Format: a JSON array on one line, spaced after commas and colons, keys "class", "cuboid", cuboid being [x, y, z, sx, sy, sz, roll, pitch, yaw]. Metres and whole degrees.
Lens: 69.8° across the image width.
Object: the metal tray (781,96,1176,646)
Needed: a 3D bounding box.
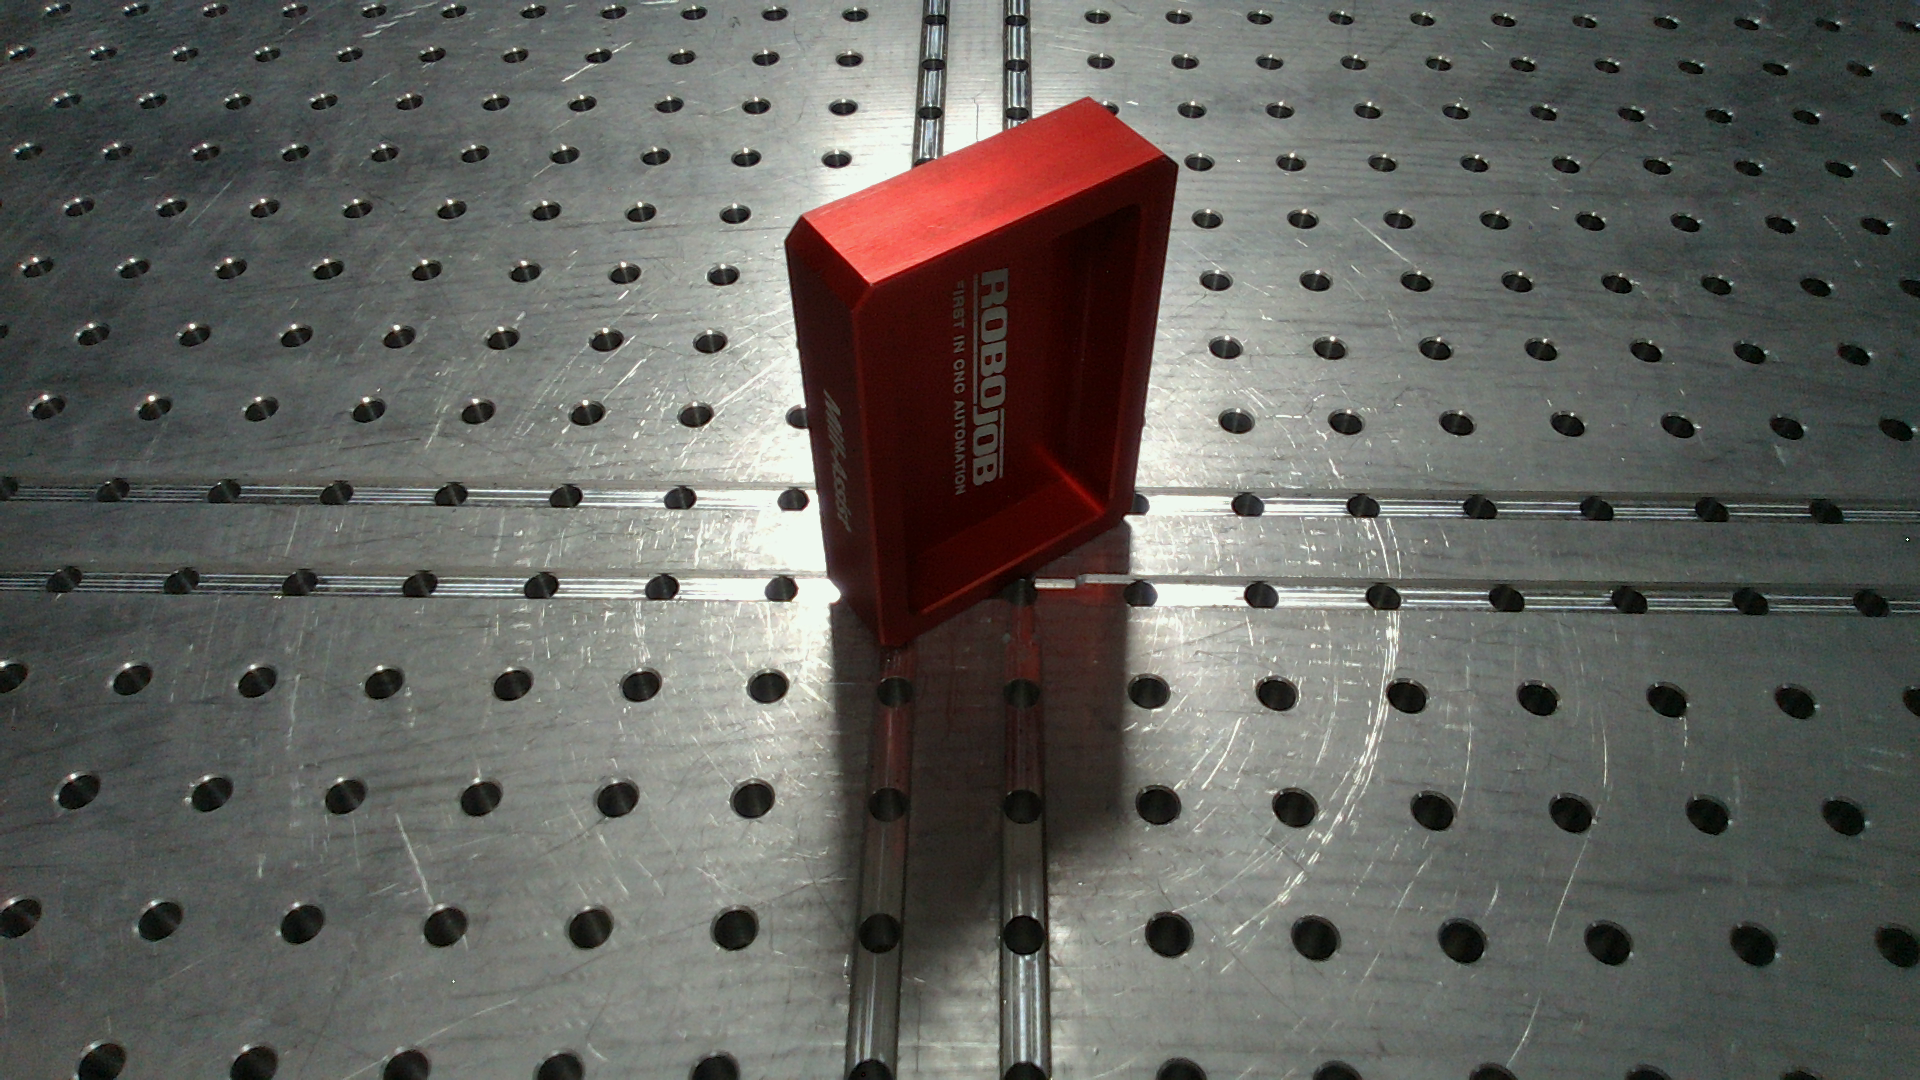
[{"class": "metal tray", "cuboid": [0.006, -0.039, 0.358, 0.090, 0.130, 0.030, -28, 55, -22]}]
